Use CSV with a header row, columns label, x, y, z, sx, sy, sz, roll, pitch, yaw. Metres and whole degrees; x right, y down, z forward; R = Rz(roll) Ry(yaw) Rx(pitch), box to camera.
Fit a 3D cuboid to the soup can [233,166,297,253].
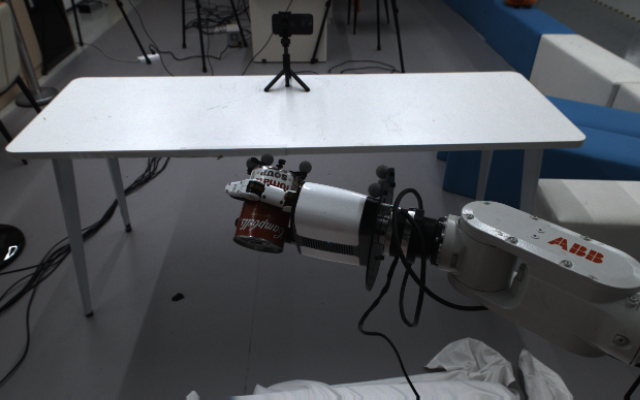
label,x,y,z,sx,sy,sz,roll,pitch,yaw
soup can,-0.070,0.014,0.646,0.067,0.067,0.101,9,71,9
